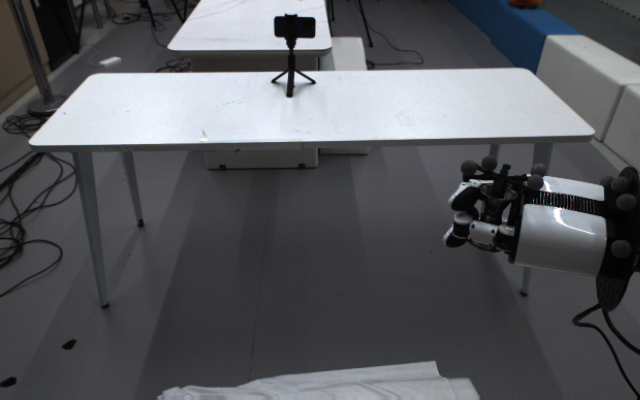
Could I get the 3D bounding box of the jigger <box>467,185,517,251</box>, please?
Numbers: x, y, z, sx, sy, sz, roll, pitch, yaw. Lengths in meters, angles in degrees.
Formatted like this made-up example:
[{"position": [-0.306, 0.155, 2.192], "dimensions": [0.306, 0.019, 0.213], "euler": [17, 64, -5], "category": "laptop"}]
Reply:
[{"position": [0.205, 0.020, 0.573], "dimensions": [0.043, 0.071, 0.043], "euler": [3, 24, -1], "category": "jigger"}]
